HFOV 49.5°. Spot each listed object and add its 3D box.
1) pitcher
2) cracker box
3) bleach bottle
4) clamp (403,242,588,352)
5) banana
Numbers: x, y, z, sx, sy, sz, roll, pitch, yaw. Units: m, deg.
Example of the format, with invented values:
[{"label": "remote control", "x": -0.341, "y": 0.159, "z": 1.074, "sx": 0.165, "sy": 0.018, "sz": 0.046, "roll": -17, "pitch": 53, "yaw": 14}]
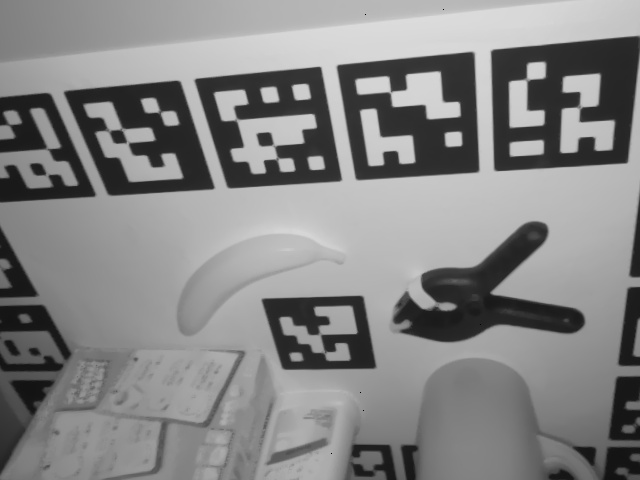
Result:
[{"label": "pitcher", "x": 0.167, "y": 0.247, "z": 0.625, "sx": 0.186, "sy": 0.245, "sz": 0.133, "roll": -17, "pitch": 122, "yaw": 23}, {"label": "cracker box", "x": -0.167, "y": 0.202, "z": 0.699, "sx": 0.213, "sy": 0.166, "sz": 0.071, "roll": -1, "pitch": 129, "yaw": 8}, {"label": "bleach bottle", "x": -0.009, "y": 0.274, "z": 0.694, "sx": 0.102, "sy": 0.253, "sz": 0.067, "roll": -2, "pitch": 127, "yaw": 10}, {"label": "clamp", "x": 0.155, "y": 0.068, "z": 0.651, "sx": 0.163, "sy": 0.037, "sz": 0.122, "roll": -15, "pitch": 124, "yaw": 21}, {"label": "banana", "x": -0.063, "y": 0.050, "z": 0.680, "sx": 0.194, "sy": 0.039, "sz": 0.074, "roll": -33, "pitch": 116, "yaw": 28}]
